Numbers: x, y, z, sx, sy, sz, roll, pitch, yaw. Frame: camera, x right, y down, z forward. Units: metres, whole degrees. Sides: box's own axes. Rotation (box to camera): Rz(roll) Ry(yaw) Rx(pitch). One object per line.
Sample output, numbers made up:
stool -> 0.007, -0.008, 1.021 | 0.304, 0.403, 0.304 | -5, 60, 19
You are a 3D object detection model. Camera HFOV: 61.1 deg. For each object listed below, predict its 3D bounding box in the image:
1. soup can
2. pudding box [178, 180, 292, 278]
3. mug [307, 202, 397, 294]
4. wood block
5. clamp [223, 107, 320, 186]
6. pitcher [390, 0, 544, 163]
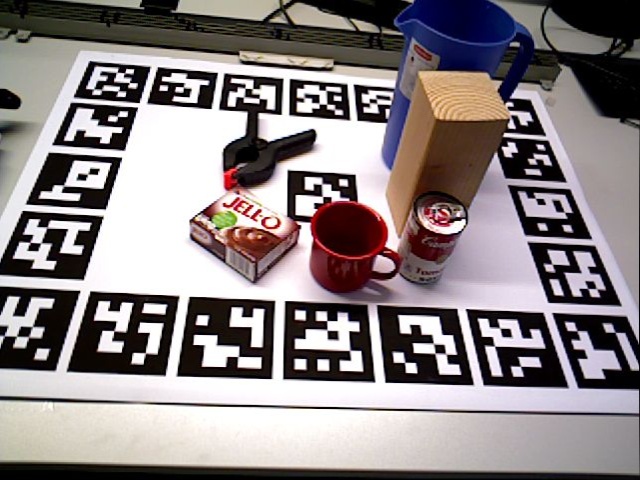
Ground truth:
soup can -> 0.130, 0.000, 0.653 | 0.067, 0.104, 0.067 | 3, 53, -5
pudding box -> -0.106, -0.015, 0.681 | 0.114, 0.039, 0.088 | 33, 57, 20
mug -> 0.037, 0.015, 0.643 | 0.117, 0.083, 0.091 | 32, 51, 19
wood block -> 0.153, -0.102, 0.669 | 0.089, 0.211, 0.089 | 4, 50, -10
clamp -> -0.087, -0.133, 0.787 | 0.122, 0.037, 0.161 | 31, 54, 8
pitcher -> 0.178, -0.202, 0.735 | 0.188, 0.248, 0.131 | 2, 48, -3
